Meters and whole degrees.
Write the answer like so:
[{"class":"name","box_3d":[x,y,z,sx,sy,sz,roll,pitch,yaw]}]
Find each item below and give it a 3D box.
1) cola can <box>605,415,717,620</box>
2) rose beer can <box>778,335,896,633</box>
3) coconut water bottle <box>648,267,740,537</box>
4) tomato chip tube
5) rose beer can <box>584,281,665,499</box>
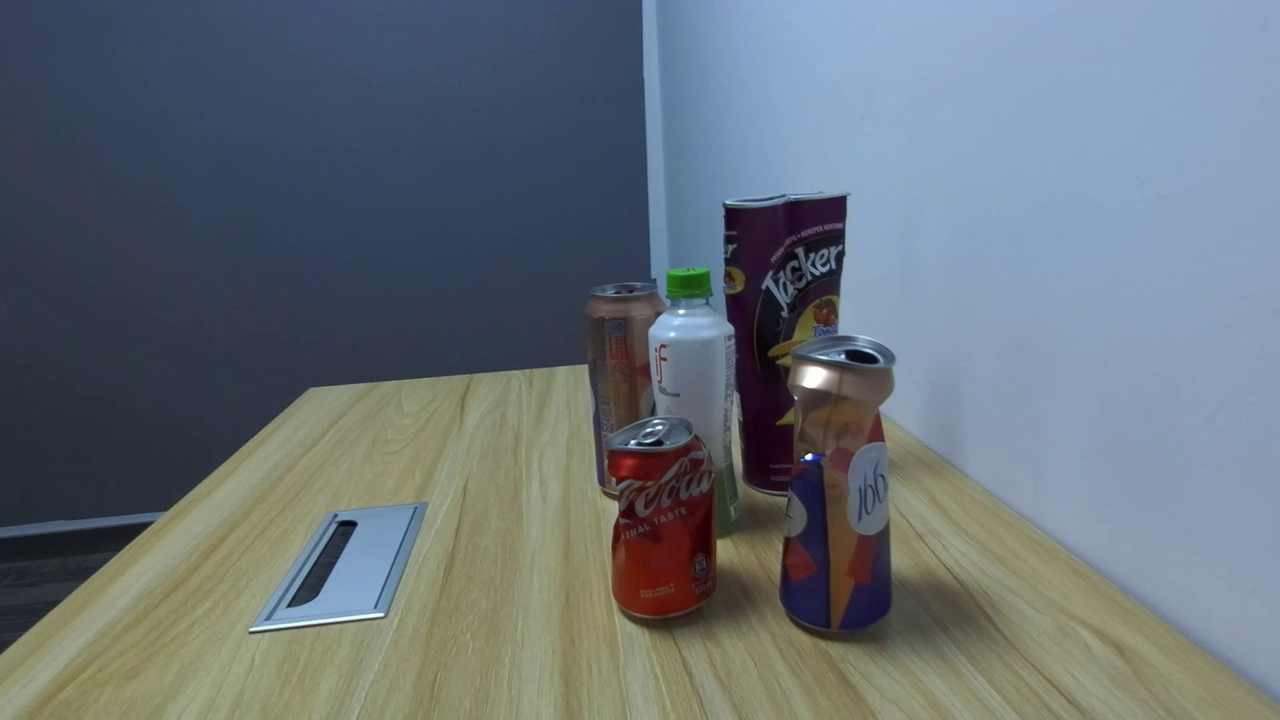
[{"class":"cola can","box_3d":[0.013,0.094,0.430,0.069,0.112,0.065,-10,17,-21]},{"class":"rose beer can","box_3d":[0.111,0.071,0.402,0.068,0.162,0.073,-4,17,-3]},{"class":"coconut water bottle","box_3d":[0.039,0.030,0.511,0.063,0.188,0.063,-3,14,1]},{"class":"tomato chip tube","box_3d":[0.117,-0.012,0.566,0.090,0.236,0.078,4,17,16]},{"class":"rose beer can","box_3d":[-0.007,0.027,0.583,0.068,0.169,0.068,-3,14,1]}]
